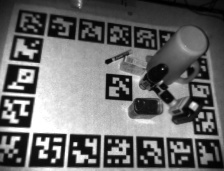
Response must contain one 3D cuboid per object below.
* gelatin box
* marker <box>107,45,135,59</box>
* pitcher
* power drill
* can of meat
[{"bbox_3d":[0.091,-0.079,0.807,0.090,0.073,0.030,14,74,-9],"label":"gelatin box"},{"bbox_3d":[0.034,-0.127,0.835,0.122,0.019,0.019,-23,79,-18],"label":"marker"},{"bbox_3d":[0.248,-0.098,0.765,0.188,0.243,0.133,33,72,7],"label":"pitcher"},{"bbox_3d":[0.195,0.004,0.744,0.187,0.183,0.057,39,71,-4],"label":"power drill"},{"bbox_3d":[0.119,0.074,0.754,0.102,0.083,0.057,3,70,-12],"label":"can of meat"}]
